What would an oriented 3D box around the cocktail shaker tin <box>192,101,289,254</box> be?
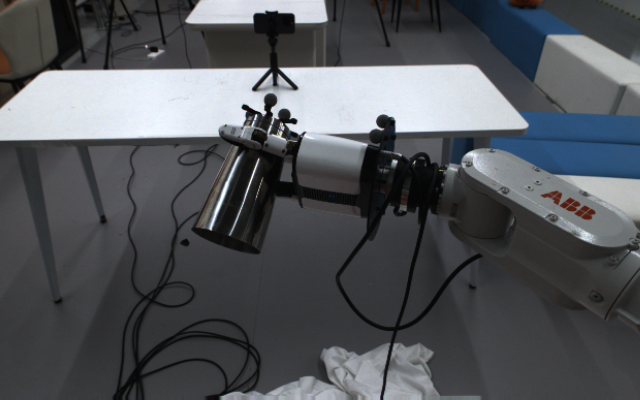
[{"bbox_3d":[-0.094,-0.026,0.641,0.093,0.093,0.170,13,72,15],"label":"cocktail shaker tin"}]
